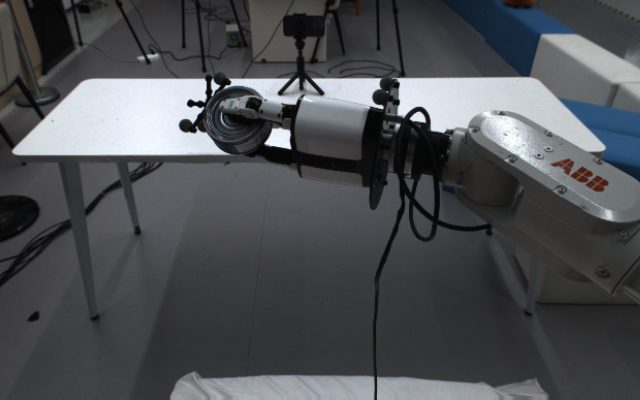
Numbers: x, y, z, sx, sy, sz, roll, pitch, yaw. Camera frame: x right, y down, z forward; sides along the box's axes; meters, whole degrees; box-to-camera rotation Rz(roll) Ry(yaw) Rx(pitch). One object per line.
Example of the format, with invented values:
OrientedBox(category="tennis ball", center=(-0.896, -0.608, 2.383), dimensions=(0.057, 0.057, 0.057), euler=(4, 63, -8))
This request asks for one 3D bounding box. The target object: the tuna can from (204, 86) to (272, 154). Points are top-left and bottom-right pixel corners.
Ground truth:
OrientedBox(category="tuna can", center=(-0.103, -0.100, 0.629), dimensions=(0.085, 0.034, 0.085), euler=(-1, 74, 4))
